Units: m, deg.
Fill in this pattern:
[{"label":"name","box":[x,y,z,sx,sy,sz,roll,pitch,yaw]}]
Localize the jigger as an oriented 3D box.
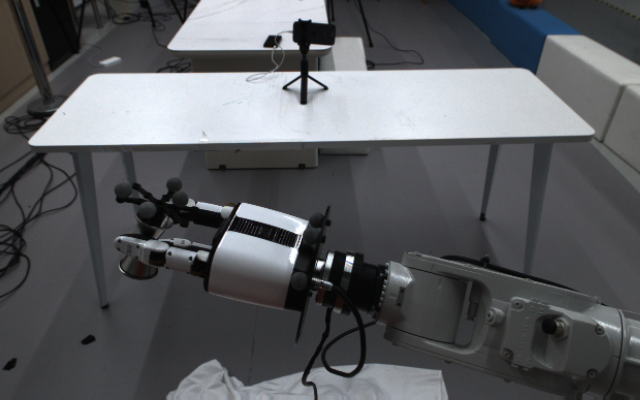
[{"label":"jigger","box":[-0.193,0.049,0.540,0.043,0.071,0.043,22,19,-8]}]
